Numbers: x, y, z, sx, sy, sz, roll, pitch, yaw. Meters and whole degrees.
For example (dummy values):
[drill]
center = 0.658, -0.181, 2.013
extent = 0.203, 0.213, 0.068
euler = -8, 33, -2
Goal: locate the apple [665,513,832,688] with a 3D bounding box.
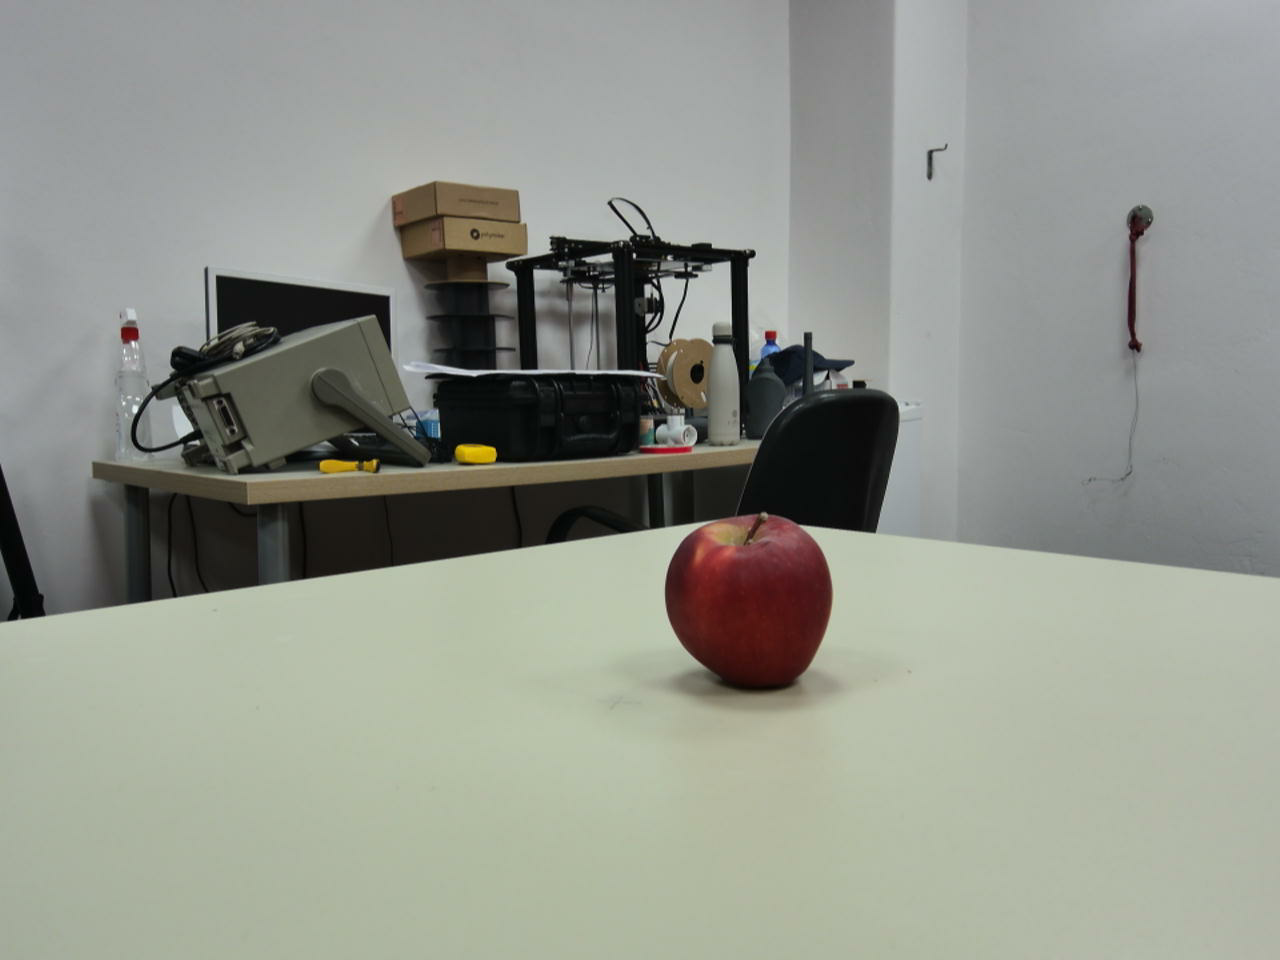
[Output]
[apple]
center = 0.046, 0.048, 0.419
extent = 0.070, 0.072, 0.070
euler = 0, 3, 0
